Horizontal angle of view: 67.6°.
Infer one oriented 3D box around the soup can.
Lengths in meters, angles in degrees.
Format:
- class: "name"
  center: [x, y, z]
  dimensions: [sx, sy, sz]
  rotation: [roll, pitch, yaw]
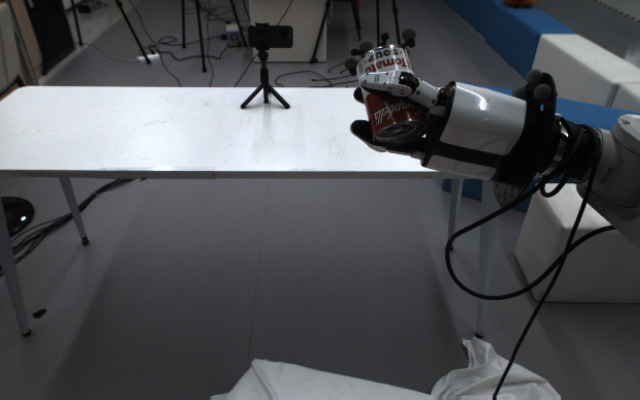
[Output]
- class: "soup can"
  center: [0.087, -0.125, 0.583]
  dimensions: [0.067, 0.067, 0.101]
  rotation: [-8, 74, -14]
